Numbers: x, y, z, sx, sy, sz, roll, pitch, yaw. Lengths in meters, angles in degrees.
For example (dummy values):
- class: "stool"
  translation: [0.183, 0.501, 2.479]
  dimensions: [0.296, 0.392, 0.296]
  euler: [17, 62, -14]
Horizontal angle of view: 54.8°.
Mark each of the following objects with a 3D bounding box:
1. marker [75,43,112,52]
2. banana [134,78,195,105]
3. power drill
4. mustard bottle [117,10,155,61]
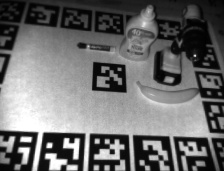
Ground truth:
- class: "marker"
  translation: [-0.061, -0.126, 0.710]
  dimensions: [0.121, 0.019, 0.019]
  euler: [5, 63, -9]
- class: "banana"
  translation: [0.162, 0.026, 0.667]
  dimensions: [0.198, 0.039, 0.074]
  euler: [9, 63, -4]
- class: "power drill"
  translation: [0.184, -0.095, 0.625]
  dimensions: [0.057, 0.187, 0.184]
  euler: [16, 59, -3]
- class: "mustard bottle"
  translation: [0.077, -0.151, 0.651]
  dimensions: [0.096, 0.191, 0.058]
  euler: [13, 61, -4]
